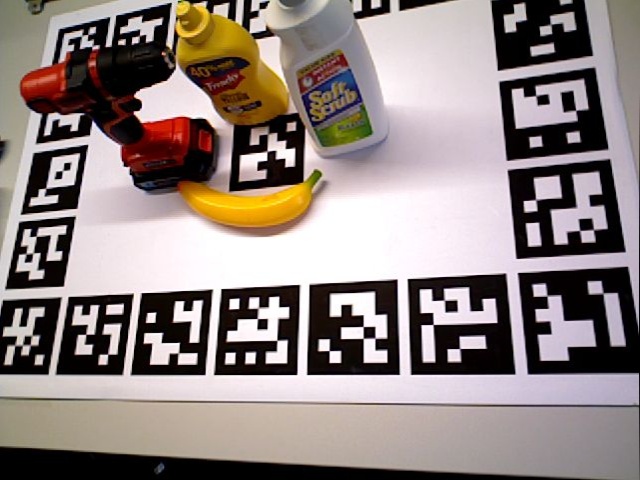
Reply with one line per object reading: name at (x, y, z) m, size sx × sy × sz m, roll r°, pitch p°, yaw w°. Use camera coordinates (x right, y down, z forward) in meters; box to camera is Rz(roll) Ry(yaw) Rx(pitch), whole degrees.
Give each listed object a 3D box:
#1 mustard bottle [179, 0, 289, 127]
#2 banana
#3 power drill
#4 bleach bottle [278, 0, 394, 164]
mustard bottle at (-0.108, -0.203, 0.626) m, size 0.096 × 0.192 × 0.058 m, roll -4°, pitch 70°, yaw 14°
banana at (-0.083, -0.044, 0.650) m, size 0.198 × 0.039 × 0.074 m, roll -3°, pitch 77°, yaw 19°
power drill at (-0.210, -0.142, 0.620) m, size 0.185 × 0.188 × 0.057 m, roll -7°, pitch 63°, yaw 12°
bleach bottle at (0.011, -0.167, 0.553) m, size 0.103 × 0.251 × 0.067 m, roll -13°, pitch 70°, yaw 12°
